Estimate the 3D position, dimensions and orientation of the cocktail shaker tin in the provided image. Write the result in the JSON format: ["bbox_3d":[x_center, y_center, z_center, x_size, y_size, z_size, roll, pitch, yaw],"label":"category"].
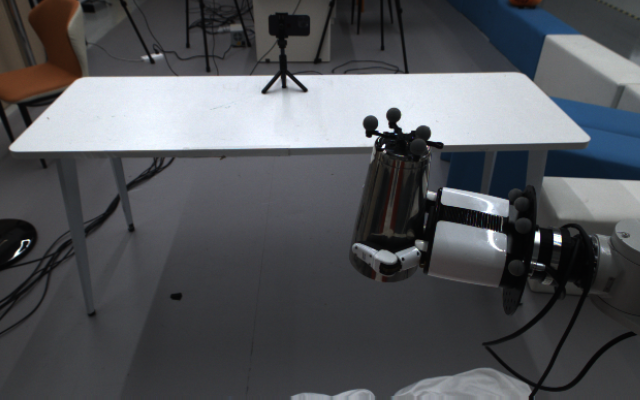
[{"bbox_3d":[0.091,0.007,0.599,0.093,0.170,0.093,3,34,-2],"label":"cocktail shaker tin"}]
